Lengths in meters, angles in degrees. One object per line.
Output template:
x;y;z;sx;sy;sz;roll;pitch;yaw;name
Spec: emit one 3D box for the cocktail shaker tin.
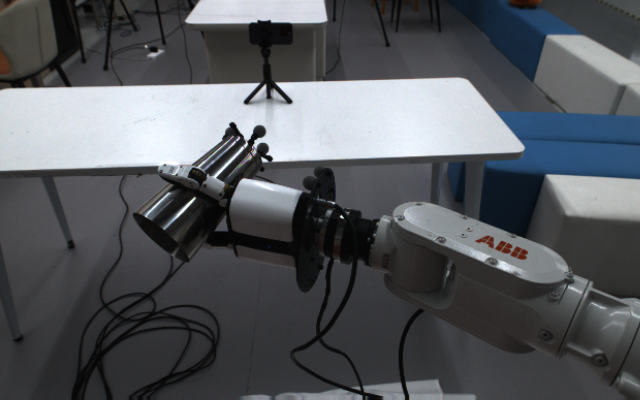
-0.156;-0.016;0.652;0.093;0.093;0.170;23;57;27;cocktail shaker tin
